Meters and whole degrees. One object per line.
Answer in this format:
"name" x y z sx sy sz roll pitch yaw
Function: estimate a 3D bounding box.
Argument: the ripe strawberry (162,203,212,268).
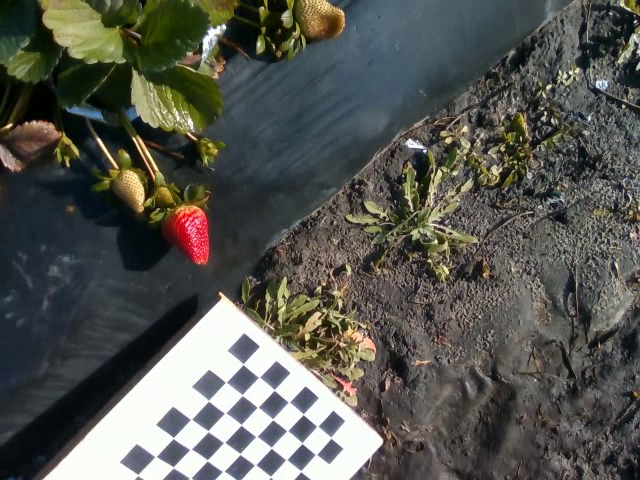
"ripe strawberry" -0.107 -0.002 0.489 0.042 0.059 0.042 -27 12 -17
